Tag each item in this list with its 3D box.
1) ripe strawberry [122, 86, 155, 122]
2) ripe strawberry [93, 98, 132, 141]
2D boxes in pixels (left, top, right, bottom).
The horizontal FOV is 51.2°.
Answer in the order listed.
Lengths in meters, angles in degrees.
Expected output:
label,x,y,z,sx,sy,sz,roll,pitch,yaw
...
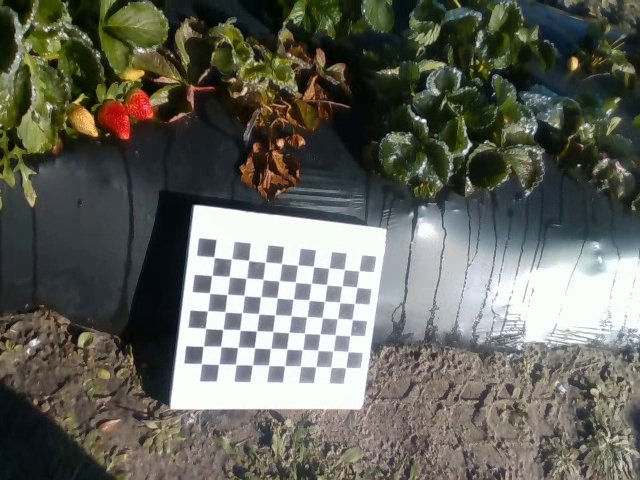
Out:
label,x,y,z,sx,sy,sz,roll,pitch,yaw
ripe strawberry,-0.210,-0.157,0.777,0.041,0.036,0.030,35,-8,-17
ripe strawberry,-0.228,-0.130,0.753,0.036,0.052,0.040,-34,-20,-17
